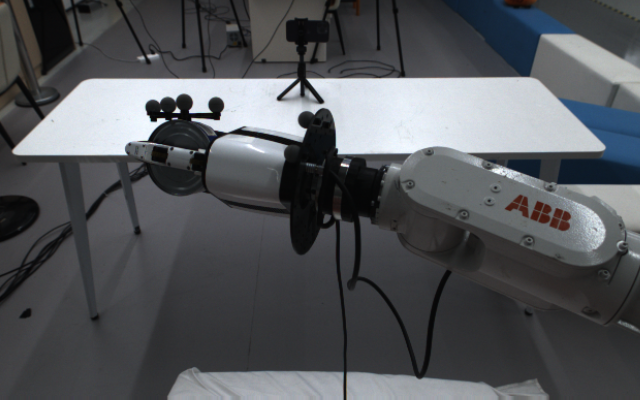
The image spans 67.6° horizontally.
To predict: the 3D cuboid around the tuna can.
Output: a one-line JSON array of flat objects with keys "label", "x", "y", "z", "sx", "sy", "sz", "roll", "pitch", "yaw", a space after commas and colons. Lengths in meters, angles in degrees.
[{"label": "tuna can", "x": -0.153, "y": -0.047, "z": 0.557, "sx": 0.085, "sy": 0.085, "sz": 0.034, "roll": 11, "pitch": 7, "yaw": 13}]
